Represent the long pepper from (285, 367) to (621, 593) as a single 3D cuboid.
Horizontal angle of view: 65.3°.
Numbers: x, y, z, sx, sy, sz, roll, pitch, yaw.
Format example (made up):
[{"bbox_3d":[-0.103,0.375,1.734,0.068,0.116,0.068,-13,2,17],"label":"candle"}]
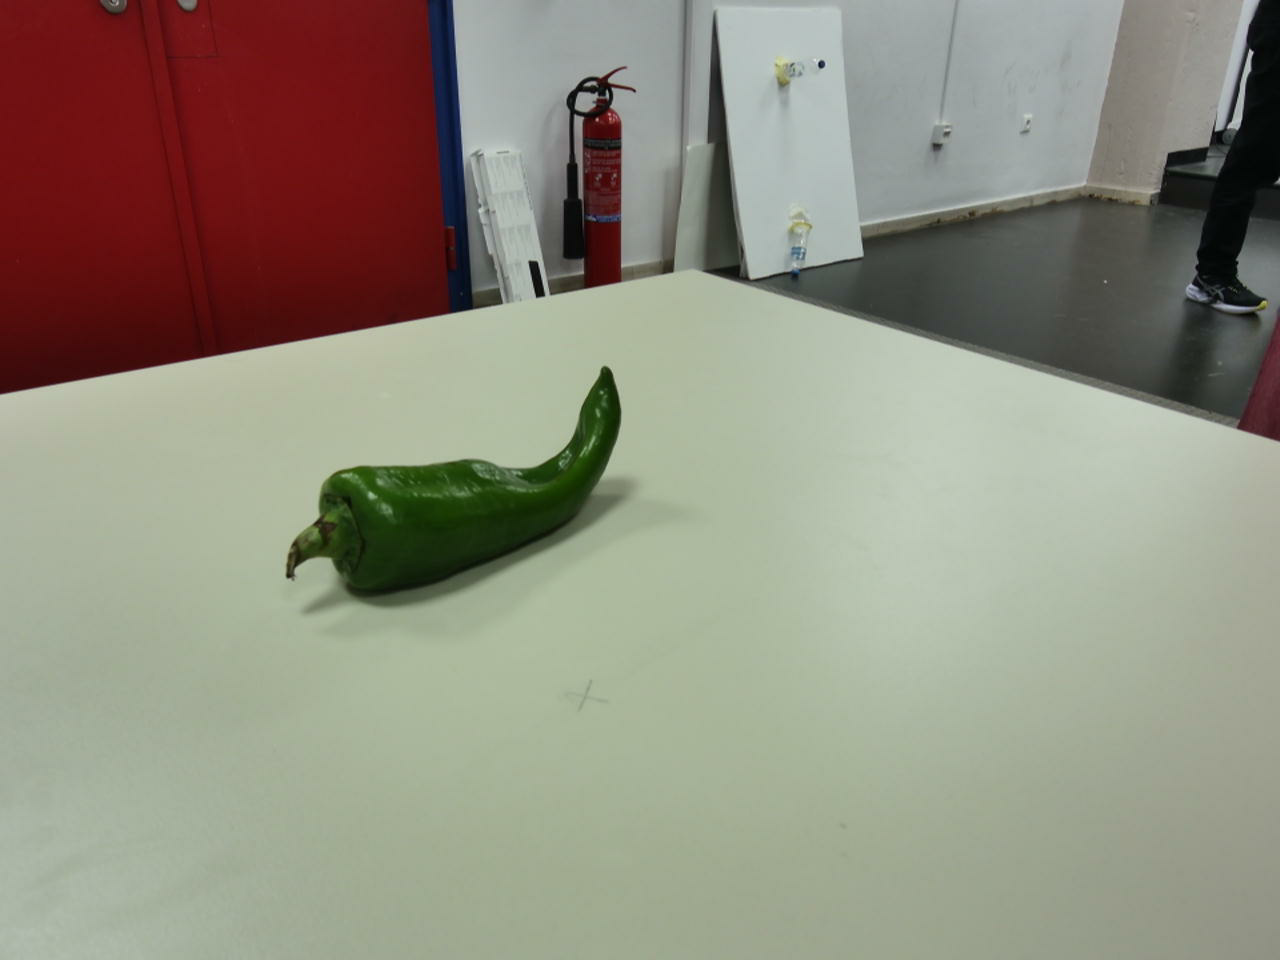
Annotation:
[{"bbox_3d":[-0.071,0.001,0.431,0.175,0.065,0.058,-19,30,-37],"label":"long pepper"}]
